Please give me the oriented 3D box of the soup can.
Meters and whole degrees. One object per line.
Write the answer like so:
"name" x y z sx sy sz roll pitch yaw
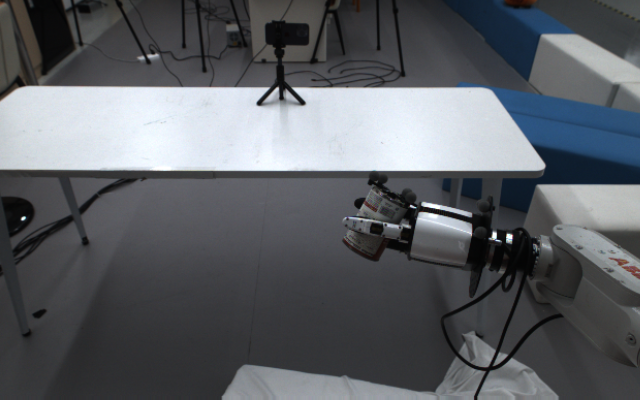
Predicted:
"soup can" 0.089 0.038 0.772 0.067 0.101 0.067 27 10 -5
